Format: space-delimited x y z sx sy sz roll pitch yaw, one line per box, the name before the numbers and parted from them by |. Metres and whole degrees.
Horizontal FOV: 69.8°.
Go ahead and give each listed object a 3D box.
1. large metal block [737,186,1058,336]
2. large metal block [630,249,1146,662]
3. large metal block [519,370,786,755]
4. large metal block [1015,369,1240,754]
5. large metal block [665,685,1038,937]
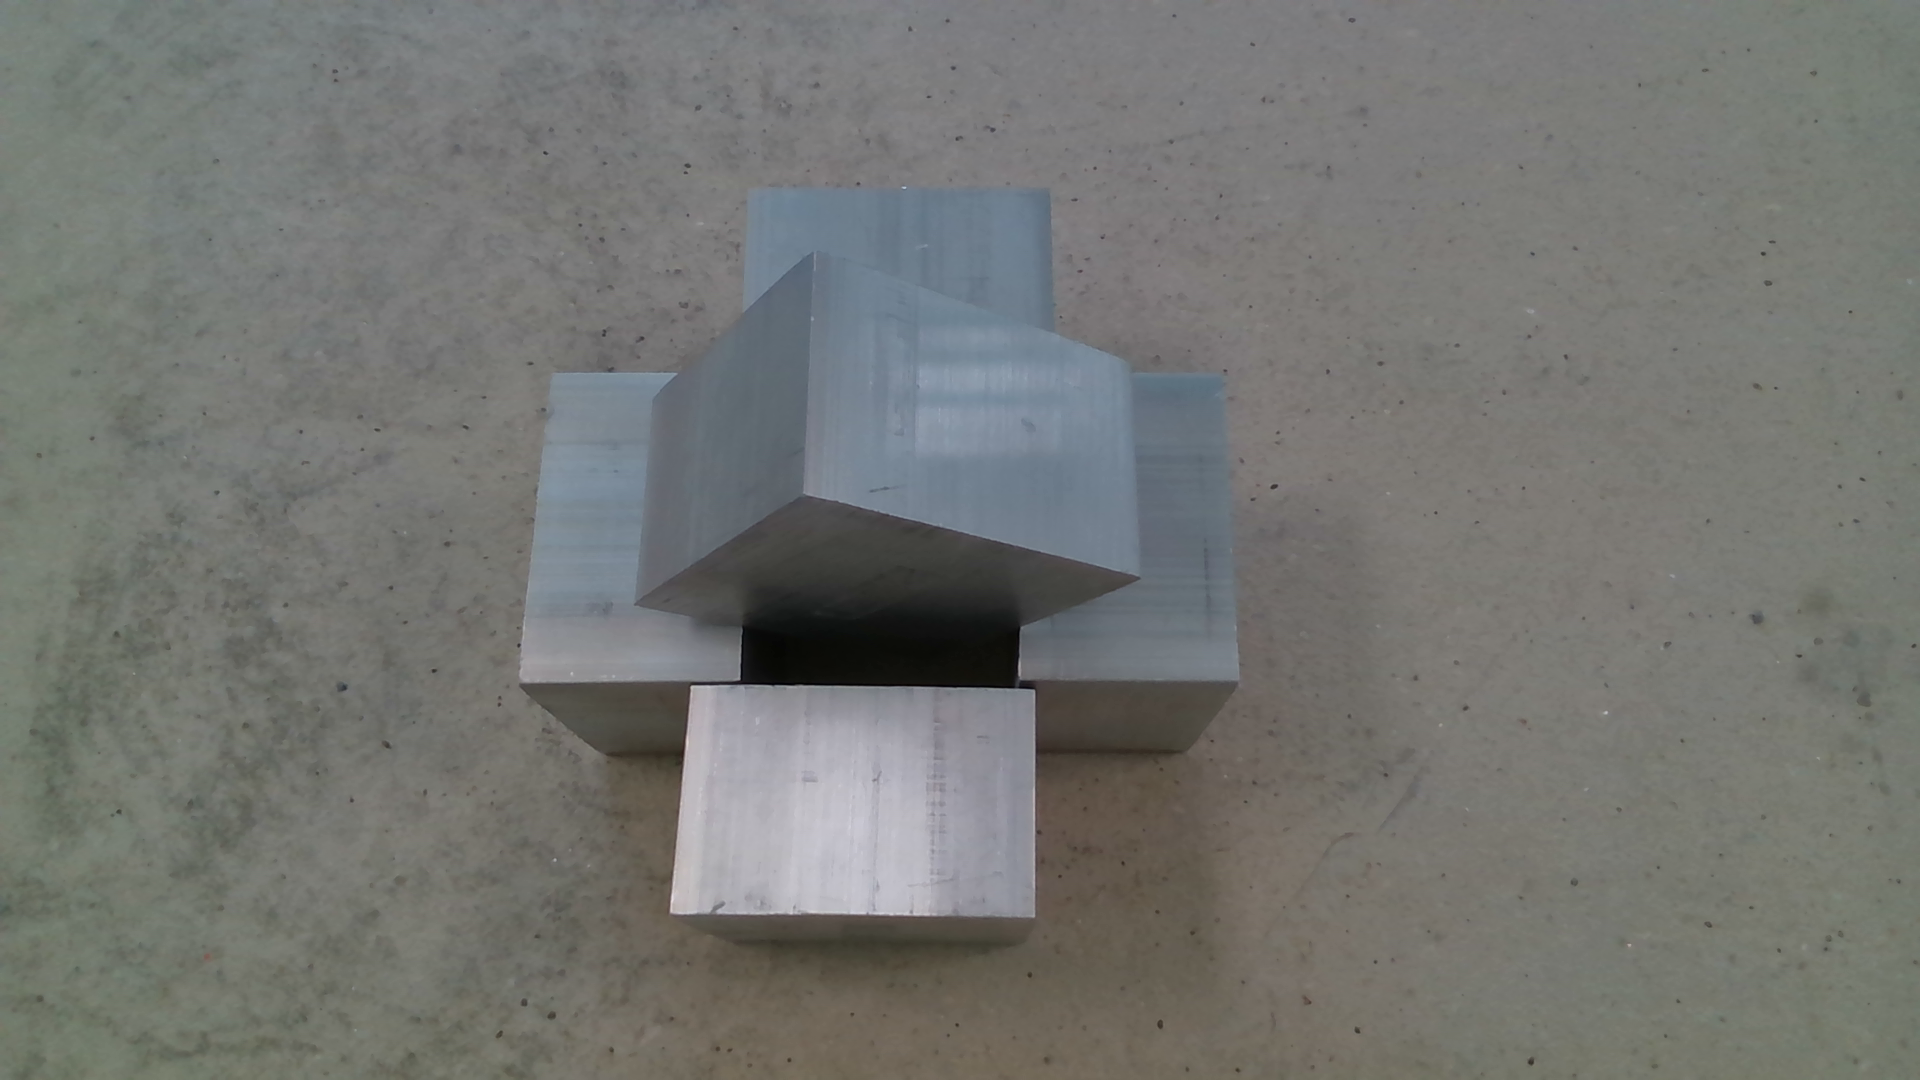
large metal block | -0.016 -0.054 0.385 0.080 0.080 0.050 0 70 0
large metal block | -0.017 -0.012 0.301 0.080 0.080 0.050 14 67 -32
large metal block | -0.076 0.009 0.364 0.050 0.080 0.080 0 70 0
large metal block | 0.039 0.009 0.364 0.050 0.080 0.080 1 70 1
large metal block | -0.023 0.070 0.342 0.080 0.080 0.050 1 70 0
